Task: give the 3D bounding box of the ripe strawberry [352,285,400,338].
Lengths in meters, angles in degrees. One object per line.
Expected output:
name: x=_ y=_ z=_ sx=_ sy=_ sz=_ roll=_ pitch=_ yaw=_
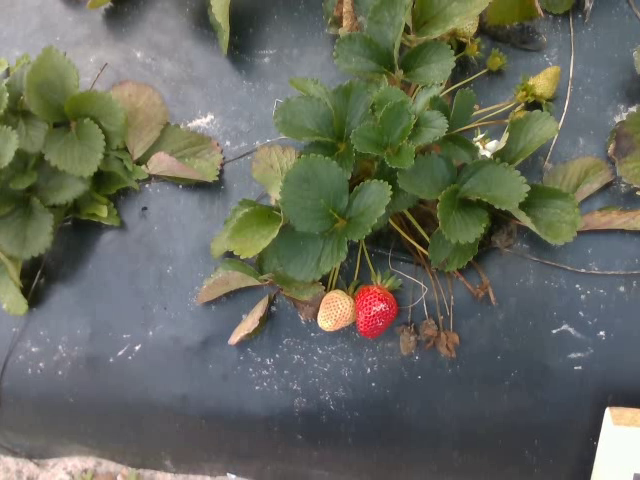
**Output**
ripe strawberry: x=0.037 y=0.051 z=0.411 sx=0.034 sy=0.042 sz=0.033 roll=31 pitch=-31 yaw=-2
